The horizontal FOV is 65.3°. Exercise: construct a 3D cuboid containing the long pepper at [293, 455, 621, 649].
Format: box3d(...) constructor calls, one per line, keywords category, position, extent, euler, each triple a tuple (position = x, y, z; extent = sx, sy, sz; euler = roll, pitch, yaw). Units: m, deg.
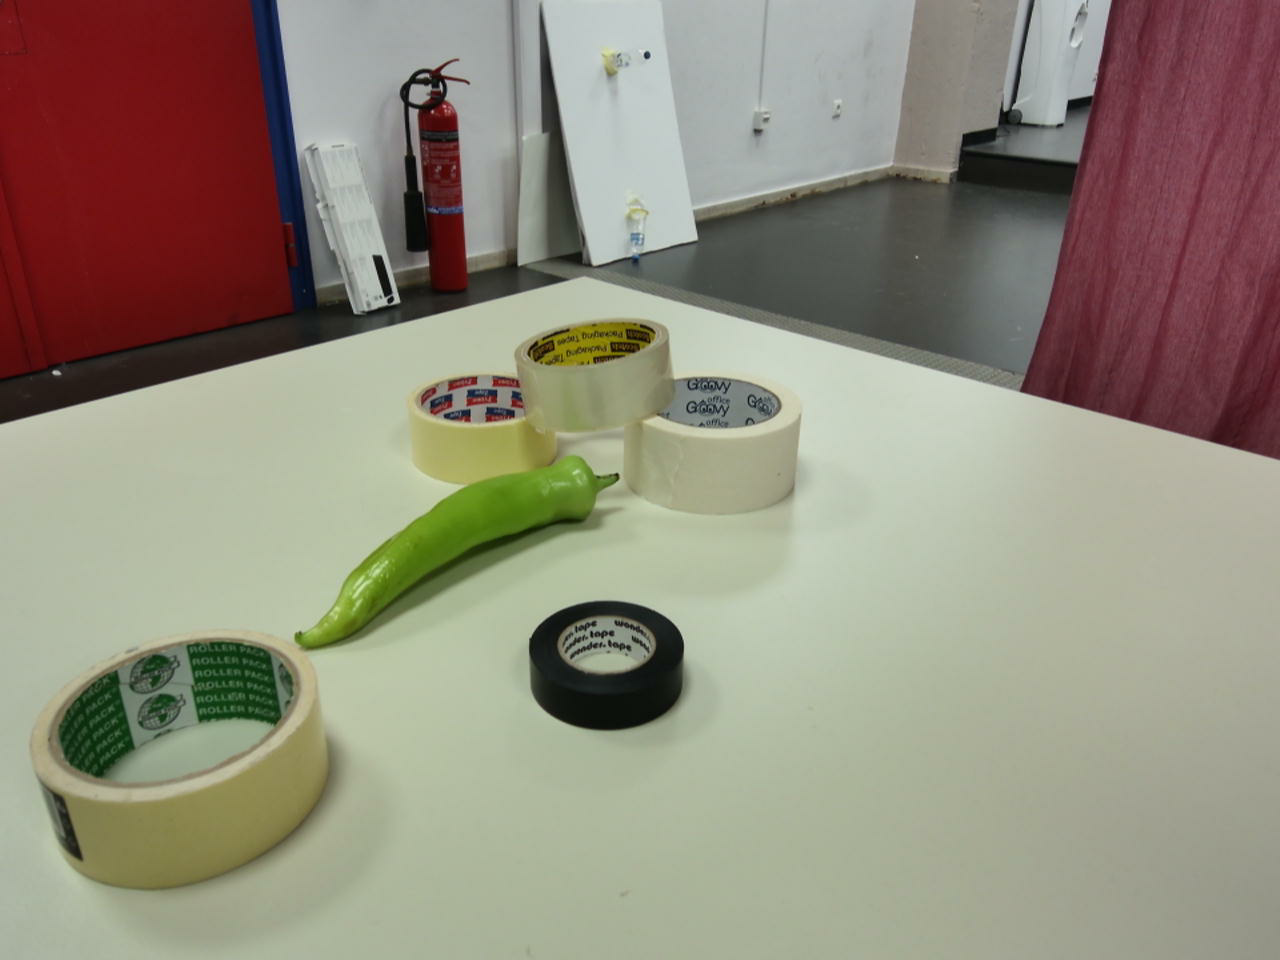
box3d(category="long pepper", position=(-0.090, 0.026, 0.501), extent=(0.047, 0.038, 0.197), euler=(22, 32, 38))
